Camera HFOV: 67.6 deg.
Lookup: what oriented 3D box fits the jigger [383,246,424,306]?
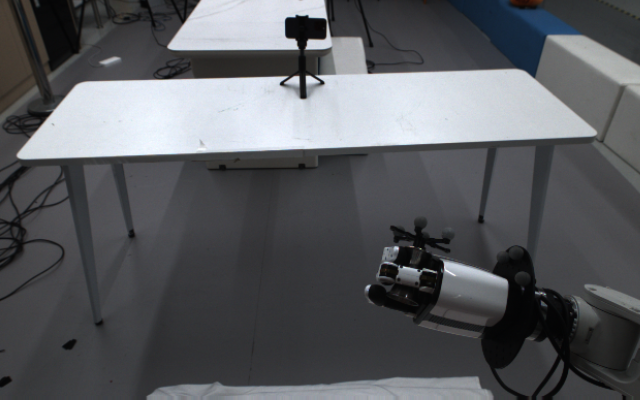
[{"bbox_3d":[0.119,0.097,0.630,0.043,0.043,0.071,15,70,18],"label":"jigger"}]
